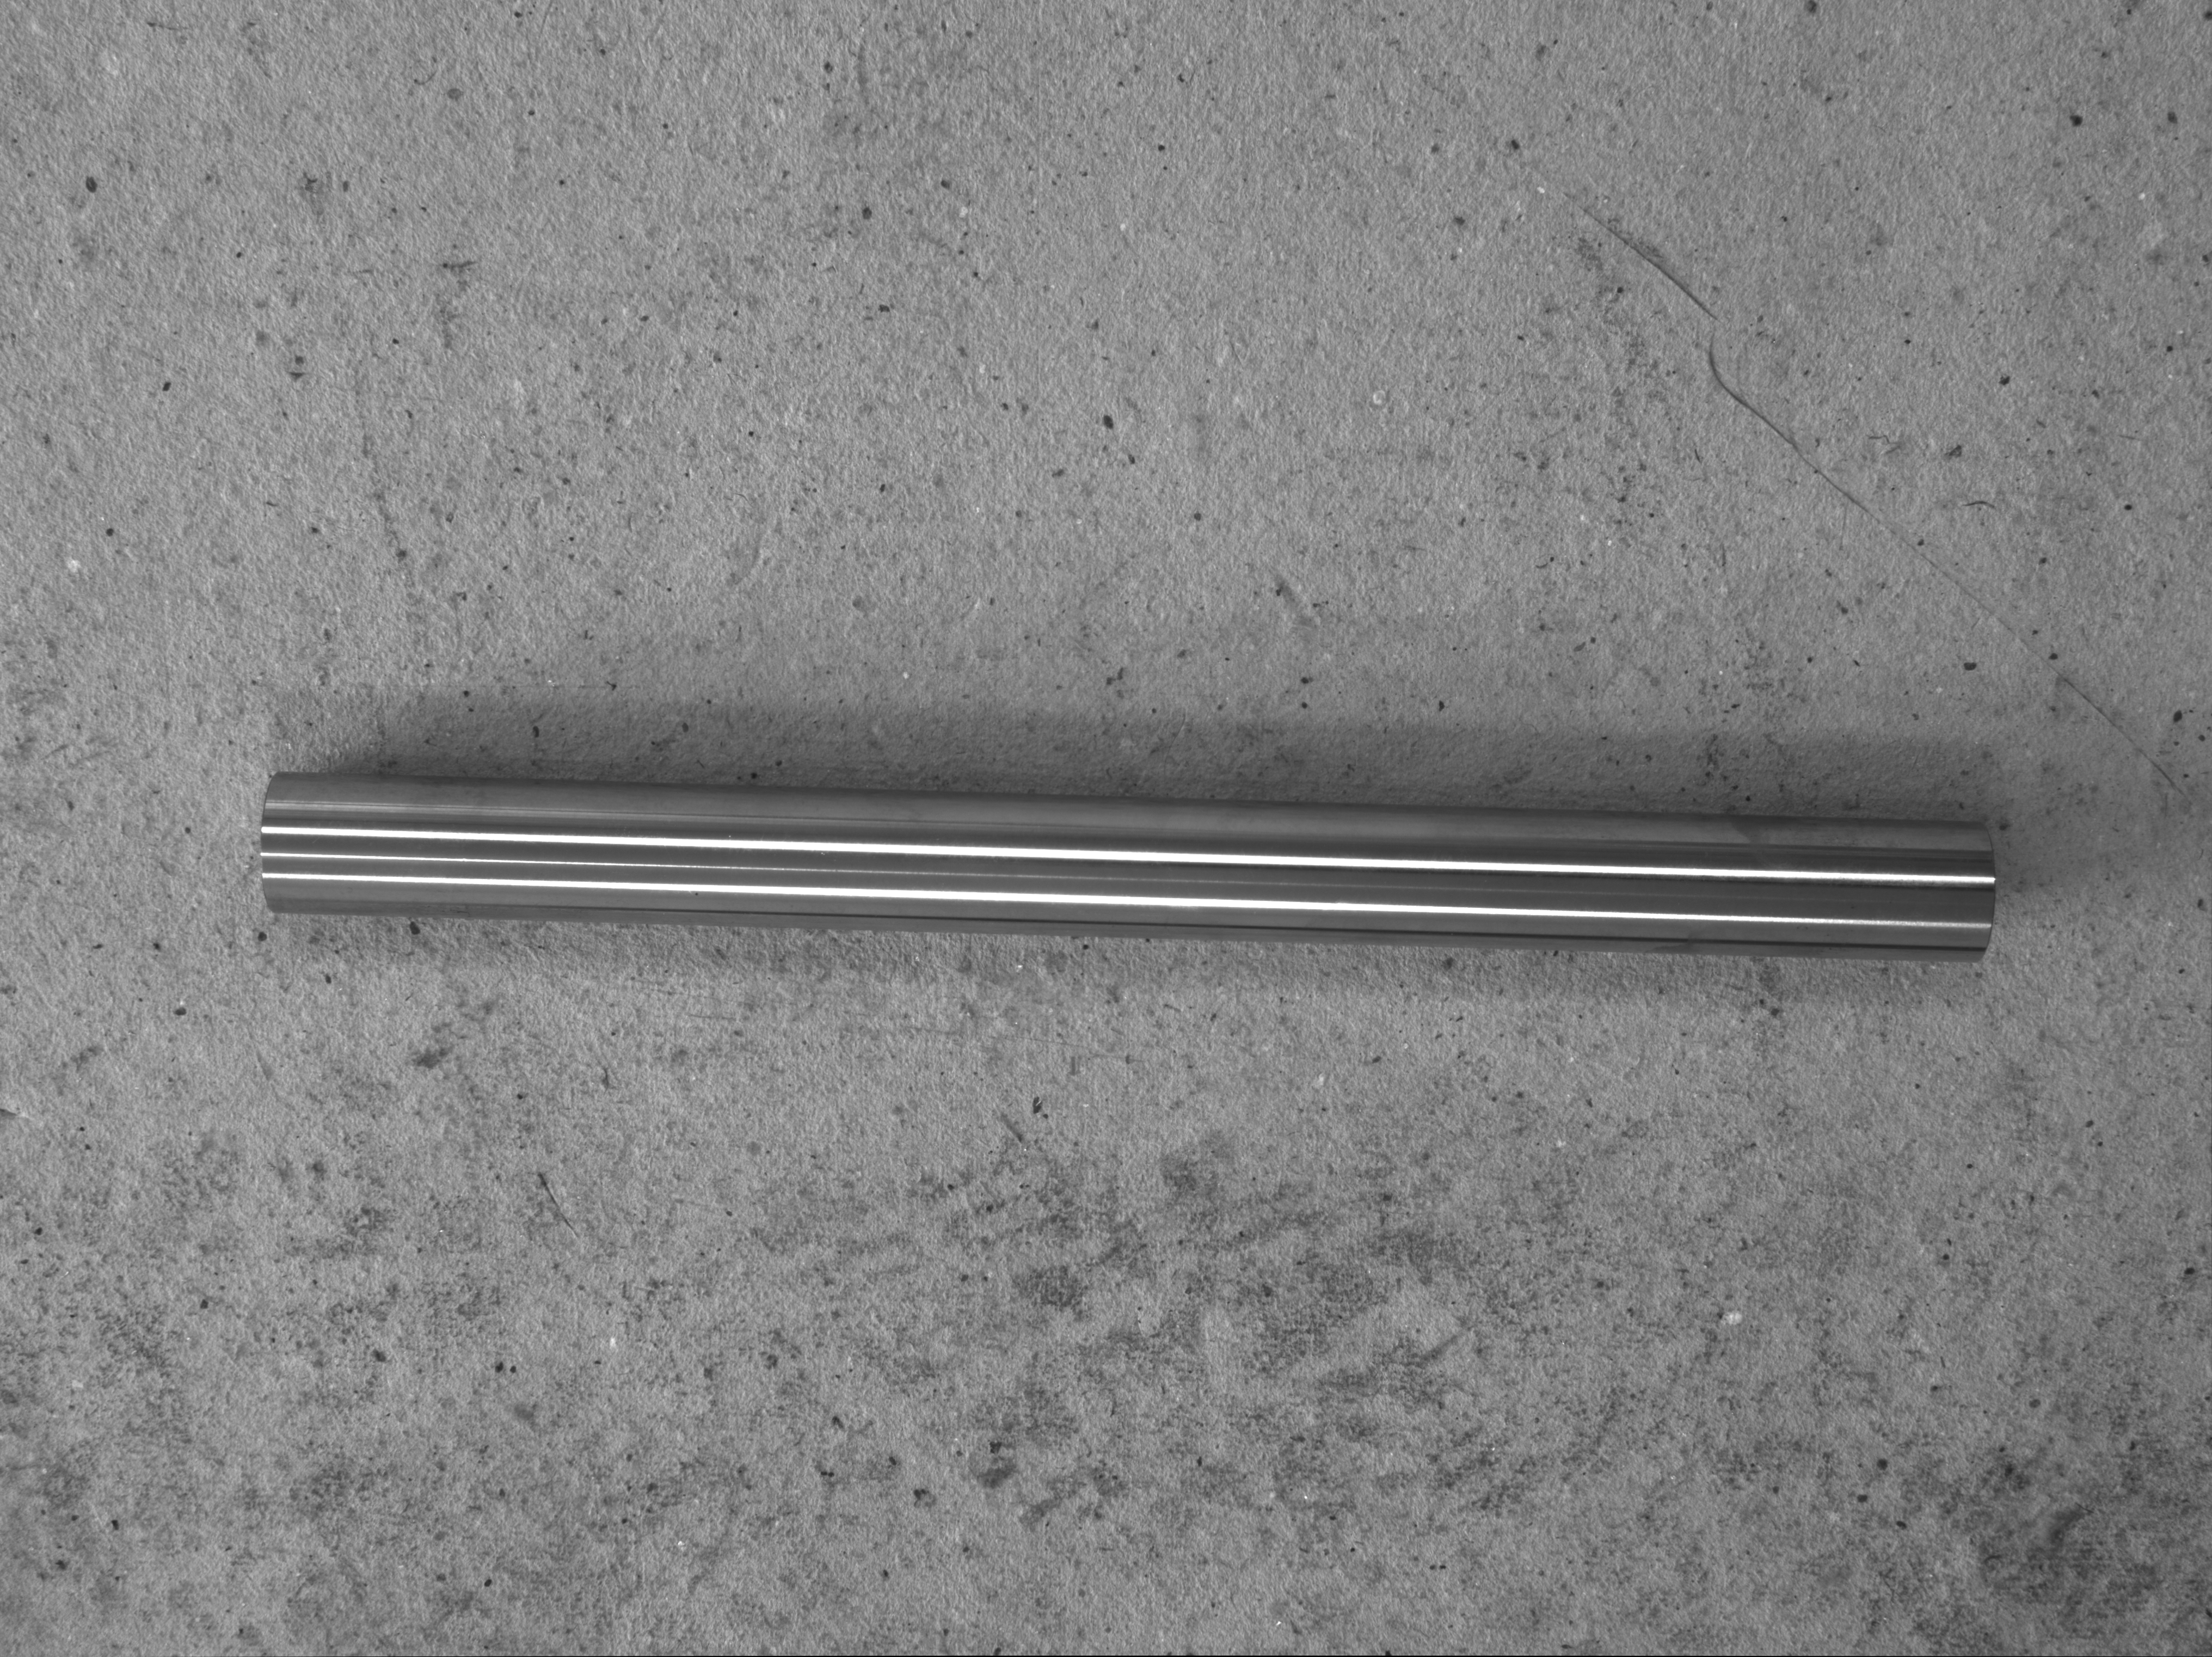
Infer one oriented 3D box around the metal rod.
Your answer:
[{"bbox_3d":[0.003,0.007,0.647,0.300,0.025,0.025,2,110,-1],"label":"metal rod"}]
